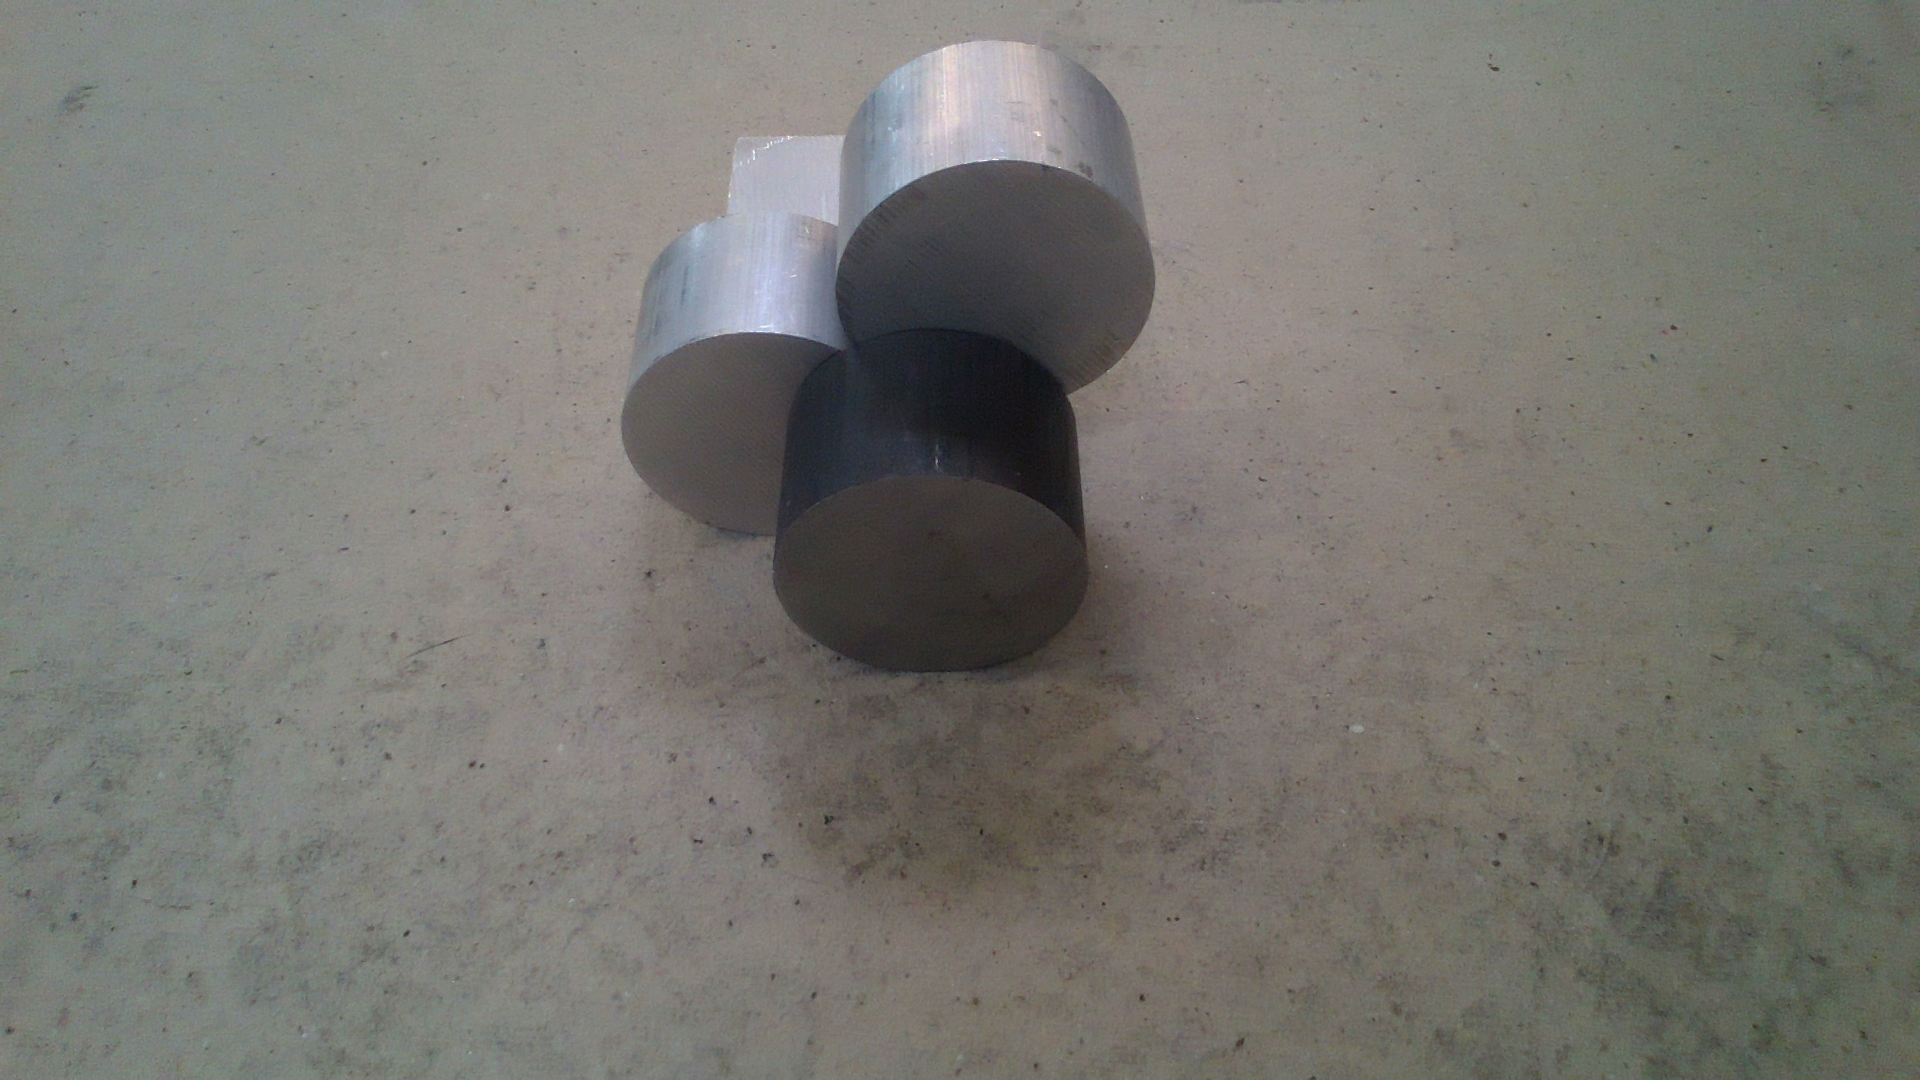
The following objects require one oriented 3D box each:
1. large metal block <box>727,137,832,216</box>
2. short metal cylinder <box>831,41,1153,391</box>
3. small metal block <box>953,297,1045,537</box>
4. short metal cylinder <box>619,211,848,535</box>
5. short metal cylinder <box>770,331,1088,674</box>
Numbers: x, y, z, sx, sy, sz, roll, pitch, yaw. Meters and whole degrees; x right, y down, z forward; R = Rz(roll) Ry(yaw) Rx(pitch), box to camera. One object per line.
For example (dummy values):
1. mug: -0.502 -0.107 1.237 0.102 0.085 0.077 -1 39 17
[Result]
1. large metal block: -0.033 -0.087 0.450 0.080 0.050 0.080 -1 50 -1
2. short metal cylinder: 0.007 -0.080 0.359 0.080 0.080 0.050 -2 50 -1
3. small metal block: 0.011 -0.036 0.409 0.025 0.050 0.050 1 50 1
4. short metal cylinder: -0.054 -0.046 0.396 0.080 0.080 0.050 -2 50 -1
5. short metal cylinder: -0.008 -0.008 0.364 0.080 0.080 0.050 0 50 0
